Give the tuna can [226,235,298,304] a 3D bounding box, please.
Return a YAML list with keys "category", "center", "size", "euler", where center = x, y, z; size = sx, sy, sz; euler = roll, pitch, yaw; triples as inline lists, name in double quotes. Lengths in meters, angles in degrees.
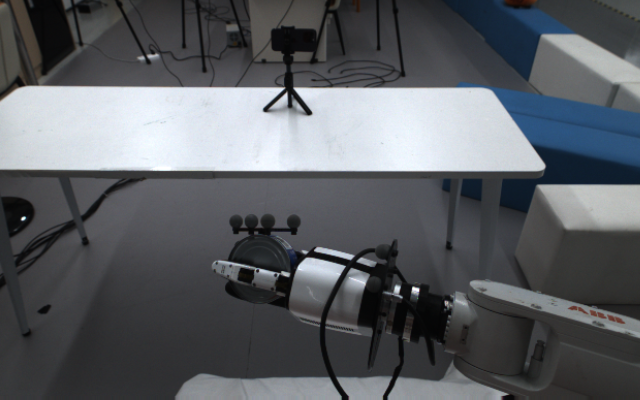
- category: "tuna can"
  center: [-0.069, 0.086, 0.610]
  size: [0.085, 0.085, 0.034]
  euler: [15, 1, 18]
